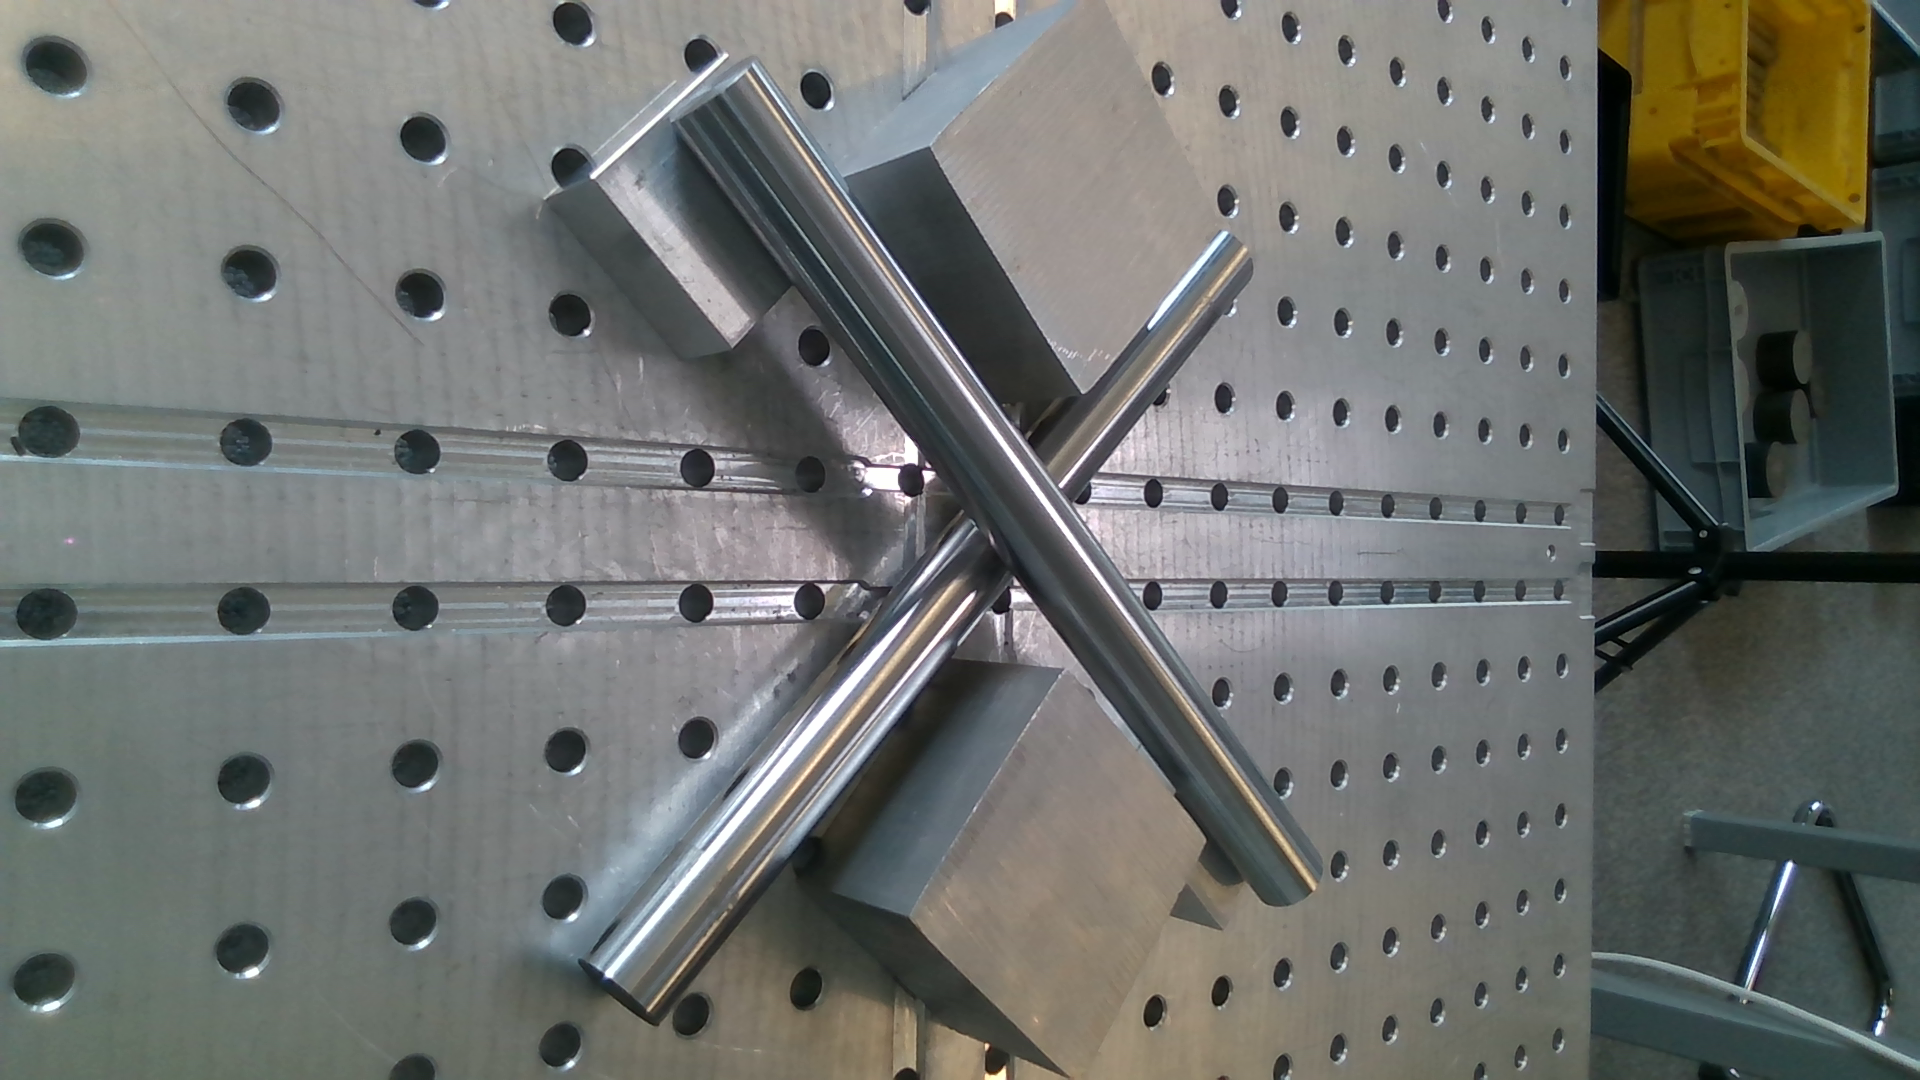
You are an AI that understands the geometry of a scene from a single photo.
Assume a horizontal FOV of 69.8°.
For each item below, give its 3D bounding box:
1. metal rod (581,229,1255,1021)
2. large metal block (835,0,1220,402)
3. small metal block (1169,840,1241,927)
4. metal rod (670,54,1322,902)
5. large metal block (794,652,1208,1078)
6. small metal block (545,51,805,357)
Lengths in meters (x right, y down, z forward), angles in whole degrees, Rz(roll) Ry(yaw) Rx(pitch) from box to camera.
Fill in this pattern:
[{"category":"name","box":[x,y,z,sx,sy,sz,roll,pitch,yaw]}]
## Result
[{"category":"metal rod","box":[0.004,0.005,0.397,0.299,0.025,0.025,-50,120,-28]},{"category":"large metal block","box":[0.018,-0.096,0.394,0.080,0.050,0.080,-51,120,-28]},{"category":"small metal block","box":[0.077,0.092,0.461,0.050,0.025,0.050,-52,121,-27]},{"category":"metal rod","box":[0.025,0.003,0.383,0.301,0.025,0.025,52,59,-27]},{"category":"large metal block","box":[0.014,0.089,0.390,0.080,0.050,0.080,51,60,-28]},{"category":"small metal block","box":[-0.064,-0.082,0.340,0.050,0.025,0.050,52,59,-27]}]
